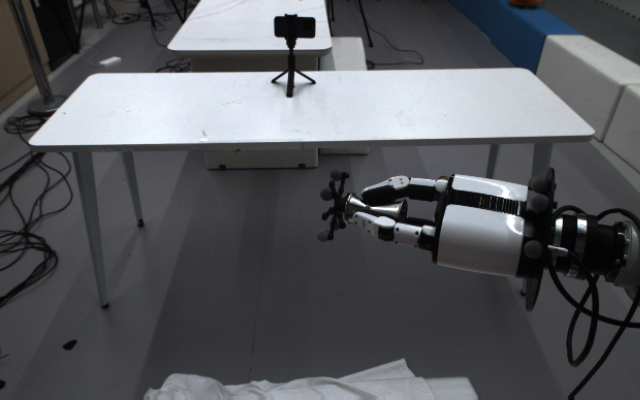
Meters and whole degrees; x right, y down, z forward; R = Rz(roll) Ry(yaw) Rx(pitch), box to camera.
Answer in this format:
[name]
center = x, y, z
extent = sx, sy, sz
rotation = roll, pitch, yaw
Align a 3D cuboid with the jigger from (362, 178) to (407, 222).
[jigger]
center = 0.075, 0.013, 0.596
extent = 0.071, 0.043, 0.043
rotation = 10, 35, 22
